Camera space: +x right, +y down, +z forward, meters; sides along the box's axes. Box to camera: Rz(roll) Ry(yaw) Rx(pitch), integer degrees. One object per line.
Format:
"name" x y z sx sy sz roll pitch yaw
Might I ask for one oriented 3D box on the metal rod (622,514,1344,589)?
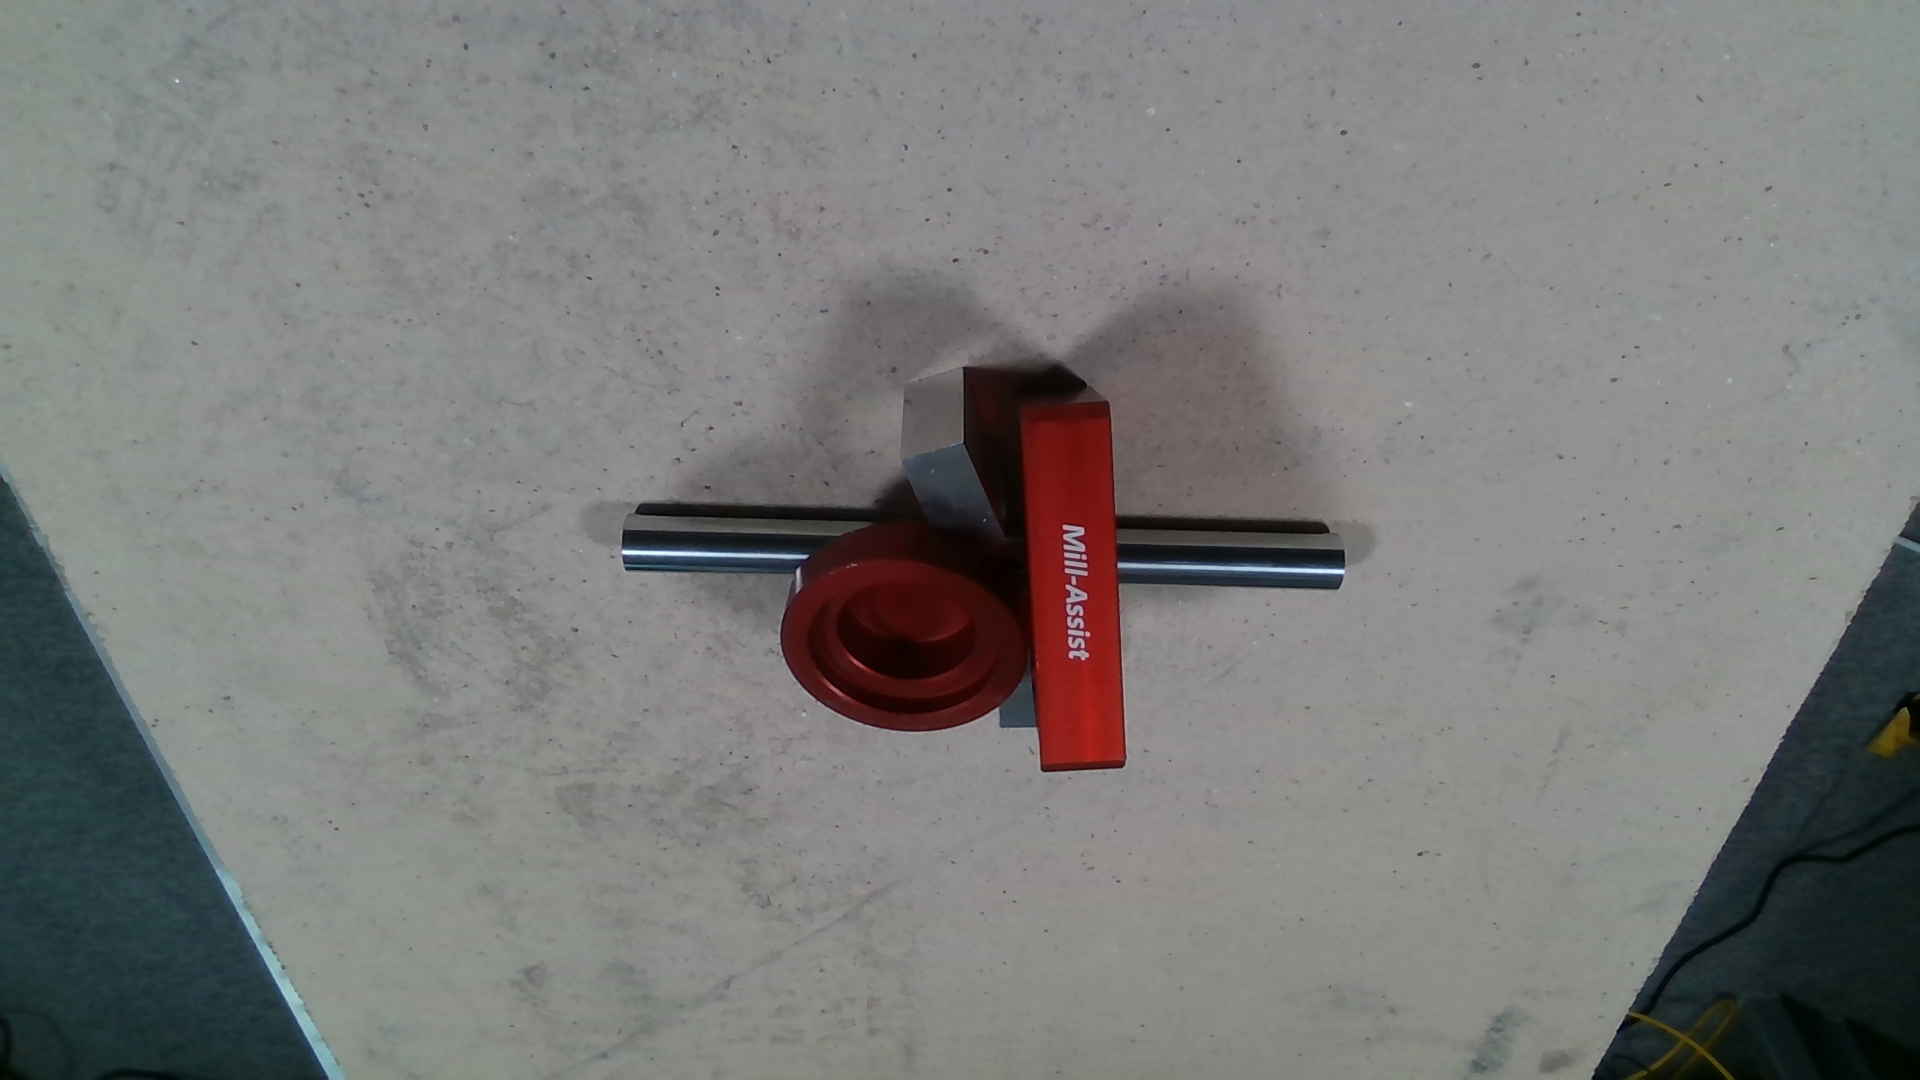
"metal rod" 0.010 0.005 0.583 0.300 0.025 0.025 2 130 -1

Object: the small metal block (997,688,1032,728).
"small metal block" 0.028 0.046 0.602 0.025 0.050 0.050 -1 130 1

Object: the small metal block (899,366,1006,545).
"small metal block" -0.002 -0.031 0.537 0.025 0.050 0.050 -15 128 12

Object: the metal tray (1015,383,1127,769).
"metal tray" 0.040 0.009 0.515 0.030 0.090 0.130 -4 100 1

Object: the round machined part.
"round machined part" -0.021 0.030 0.557 0.098 0.042 0.098 2 132 2
